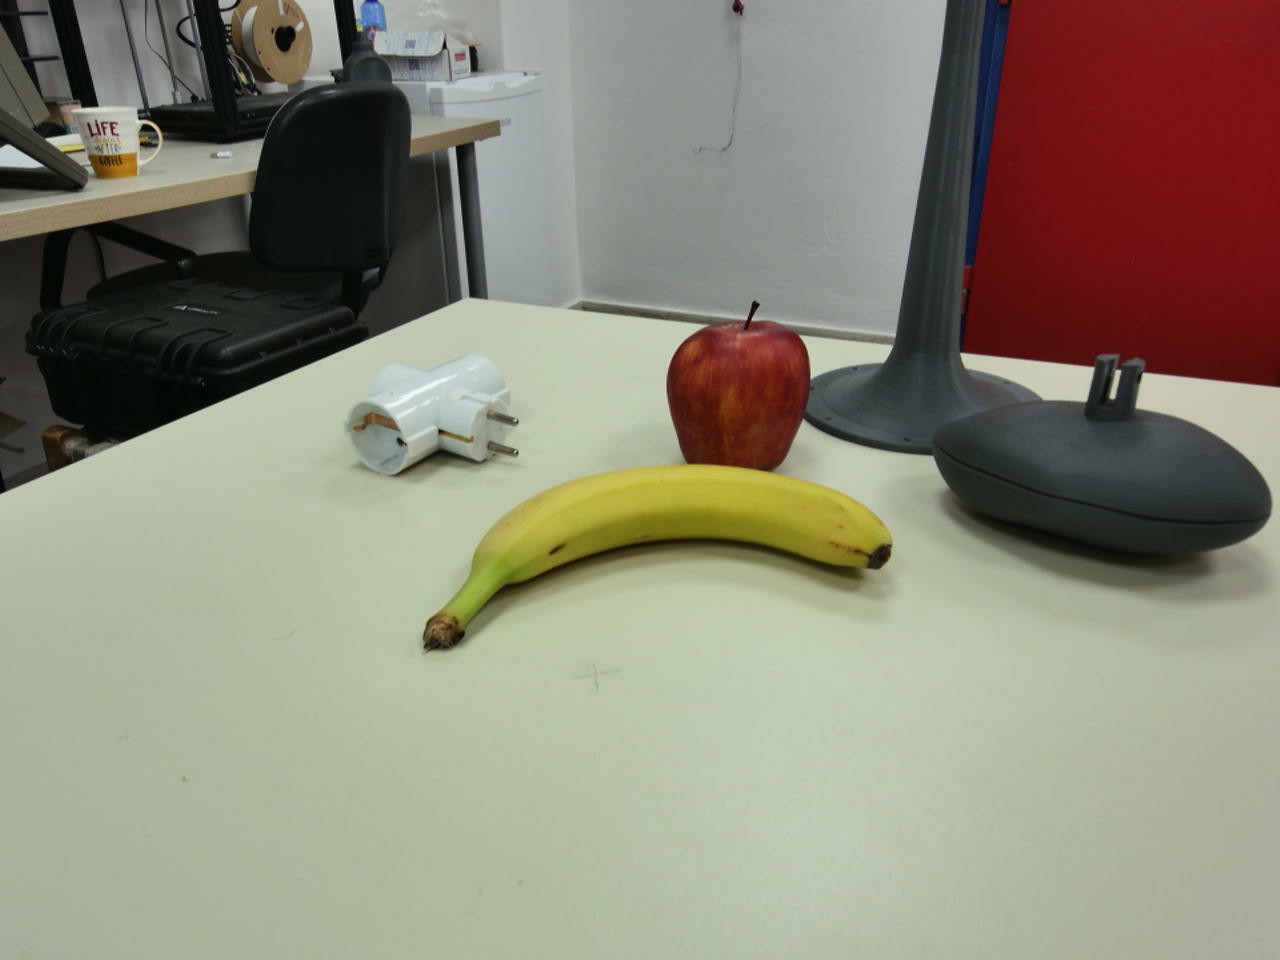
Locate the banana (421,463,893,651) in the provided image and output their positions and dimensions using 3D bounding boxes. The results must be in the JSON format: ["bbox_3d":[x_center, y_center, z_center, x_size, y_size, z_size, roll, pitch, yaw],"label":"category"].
[{"bbox_3d":[0.004,0.024,0.439,0.196,0.041,0.094,-4,24,-9],"label":"banana"}]
